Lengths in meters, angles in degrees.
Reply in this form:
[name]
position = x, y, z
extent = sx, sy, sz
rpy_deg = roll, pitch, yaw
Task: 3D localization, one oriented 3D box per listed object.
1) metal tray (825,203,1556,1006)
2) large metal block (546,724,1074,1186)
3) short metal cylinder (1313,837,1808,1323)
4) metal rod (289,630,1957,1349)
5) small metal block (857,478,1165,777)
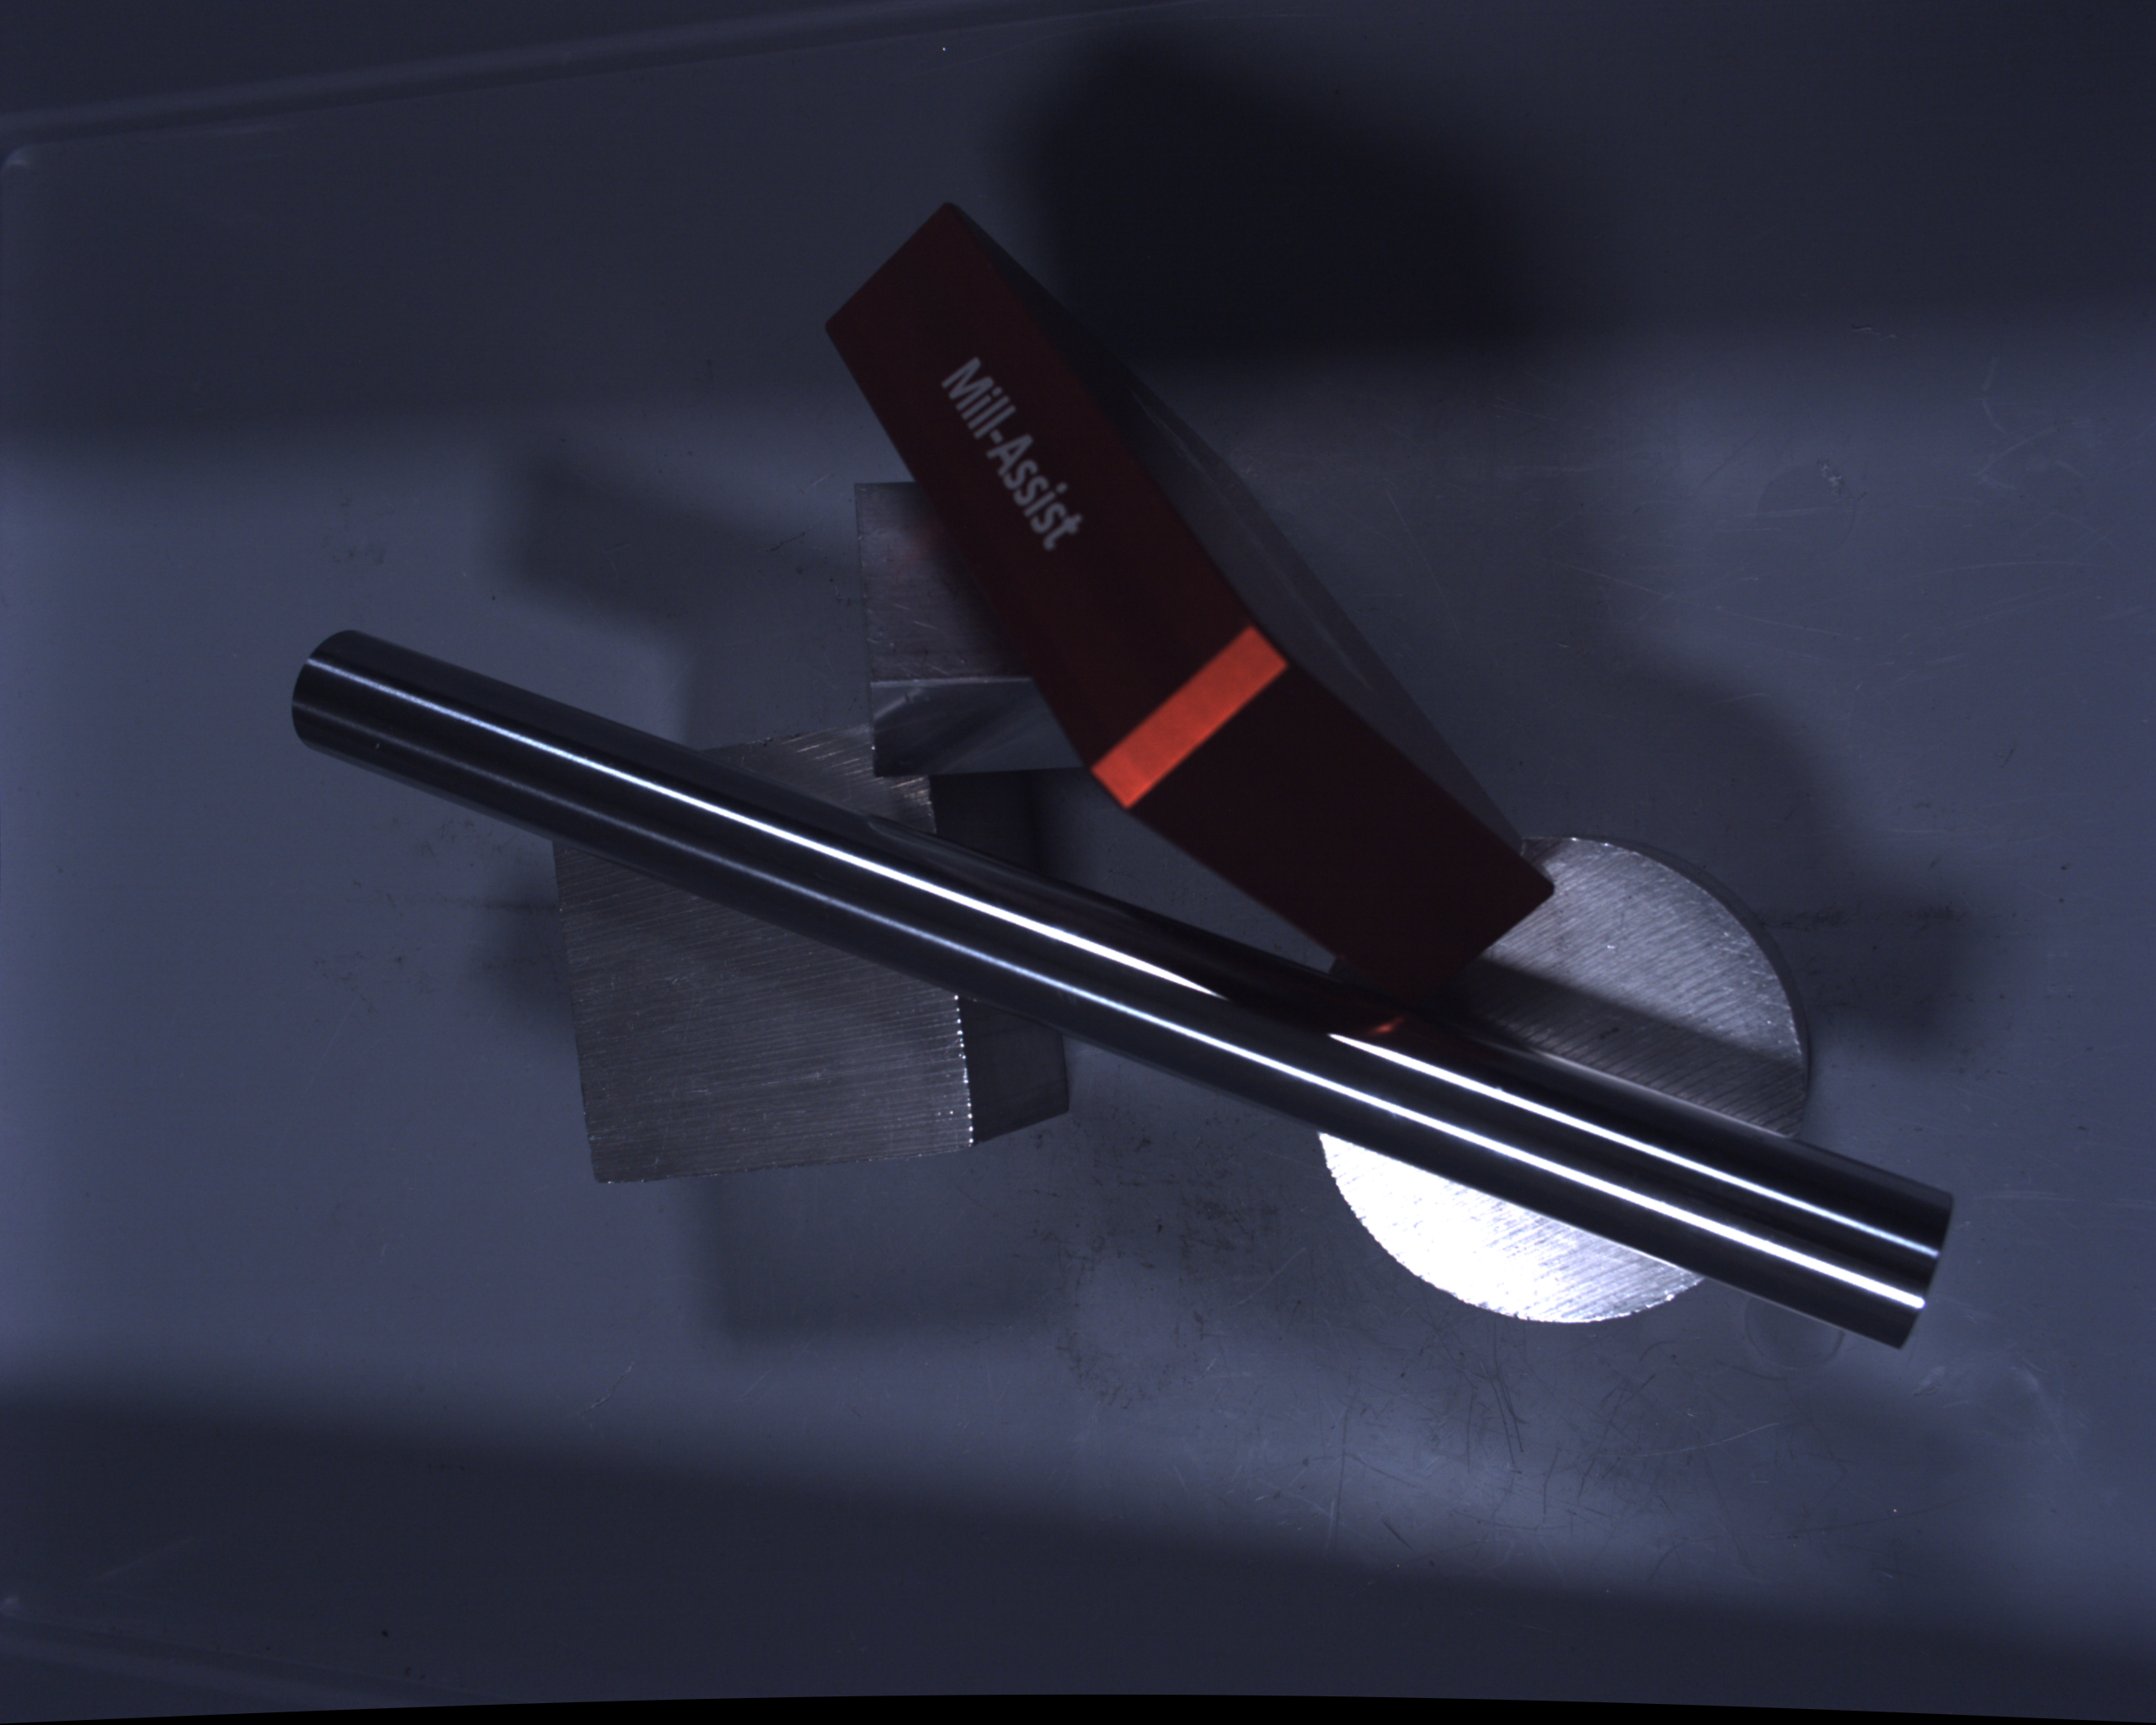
[metal tray]
position = 0.016, -0.044, 0.342
extent = 0.030, 0.090, 0.130
rpy_deg = -42, 47, 14
[large metal block]
position = -0.052, 0.017, 0.413
extent = 0.080, 0.050, 0.080
rpy_deg = -8, 87, 19
[short metal cylinder]
position = 0.086, 0.035, 0.365
extent = 0.080, 0.050, 0.079
rpy_deg = 0, 90, 19
[metal rod]
position = -0.009, 0.014, 0.357
extent = 0.301, 0.025, 0.025
rpy_deg = 19, 96, 18
[small metal block]
position = -0.013, -0.044, 0.377
extent = 0.050, 0.025, 0.050
rpy_deg = -3, 53, -7
